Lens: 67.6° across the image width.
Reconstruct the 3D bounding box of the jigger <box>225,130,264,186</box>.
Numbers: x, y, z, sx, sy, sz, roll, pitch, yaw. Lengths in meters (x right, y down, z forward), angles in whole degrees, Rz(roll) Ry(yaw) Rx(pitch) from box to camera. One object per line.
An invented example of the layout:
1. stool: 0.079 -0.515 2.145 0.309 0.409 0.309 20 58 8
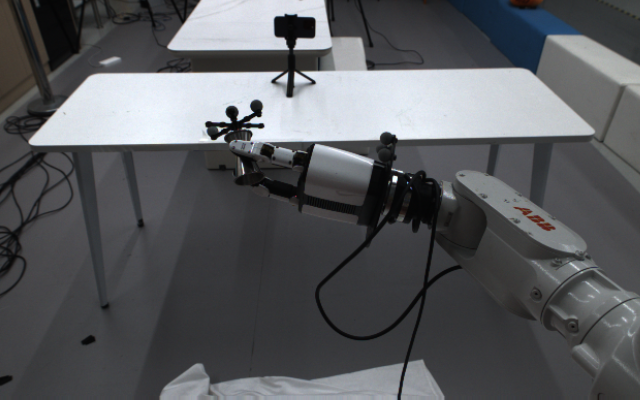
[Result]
1. jigger: -0.105 -0.059 0.671 0.043 0.043 0.071 -11 73 -19
